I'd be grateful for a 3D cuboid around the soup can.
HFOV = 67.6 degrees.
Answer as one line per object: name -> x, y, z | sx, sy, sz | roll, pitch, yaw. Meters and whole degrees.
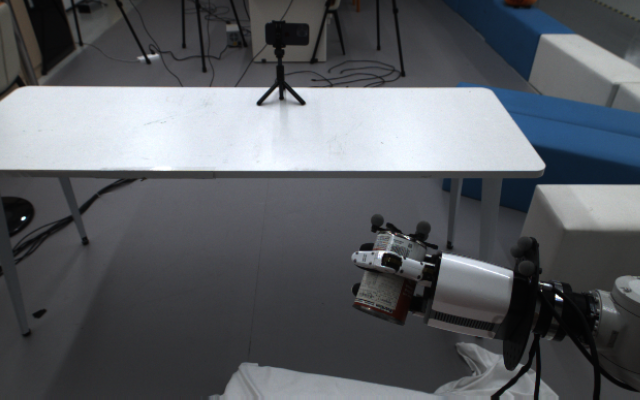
soup can -> 0.092, 0.098, 0.610 | 0.067, 0.067, 0.101 | 15, 75, 18
